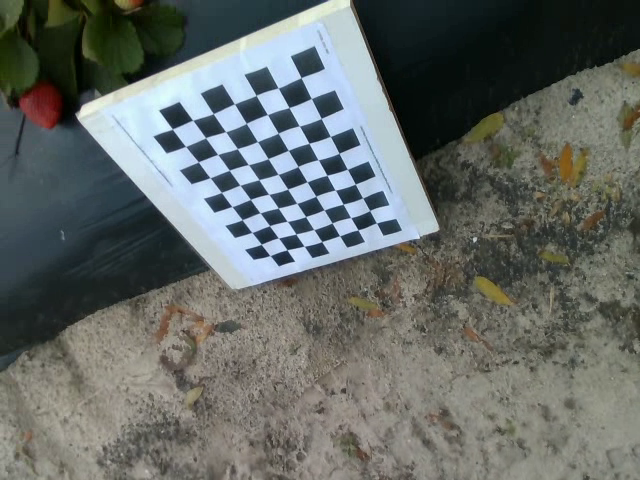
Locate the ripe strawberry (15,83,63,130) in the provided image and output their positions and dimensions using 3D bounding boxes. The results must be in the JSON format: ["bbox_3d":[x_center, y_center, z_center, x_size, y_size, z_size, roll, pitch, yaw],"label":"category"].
[{"bbox_3d":[-0.233,-0.094,0.717,0.036,0.046,0.037,-25,-20,-31],"label":"ripe strawberry"}]
